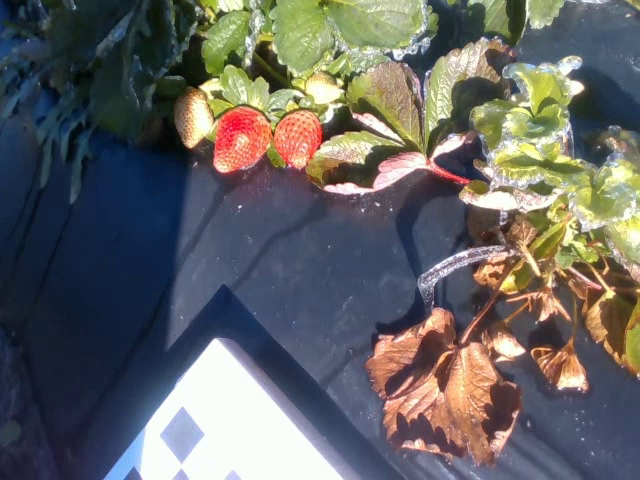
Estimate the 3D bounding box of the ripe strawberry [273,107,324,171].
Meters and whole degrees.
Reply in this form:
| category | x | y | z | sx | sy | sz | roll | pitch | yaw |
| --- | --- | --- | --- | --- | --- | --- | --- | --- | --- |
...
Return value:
| category | x | y | z | sx | sy | sz | roll | pitch | yaw |
| --- | --- | --- | --- | --- | --- | --- | --- | --- | --- |
| ripe strawberry | -0.012 | -0.062 | 0.384 | 0.036 | 0.041 | 0.030 | -26 | -25 | 18 |

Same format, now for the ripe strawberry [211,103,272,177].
| category | x | y | z | sx | sy | sz | roll | pitch | yaw |
| --- | --- | --- | --- | --- | --- | --- | --- | --- | --- |
| ripe strawberry | -0.052 | -0.057 | 0.382 | 0.036 | 0.040 | 0.052 | -1 | 42 | 24 |
